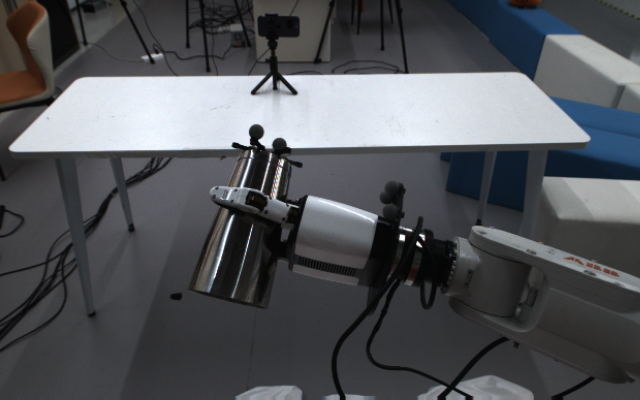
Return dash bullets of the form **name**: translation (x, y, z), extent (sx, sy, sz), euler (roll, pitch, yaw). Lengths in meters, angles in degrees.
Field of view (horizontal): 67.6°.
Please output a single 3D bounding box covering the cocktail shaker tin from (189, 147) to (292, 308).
- **cocktail shaker tin**: translation (-0.085, 0.033, 0.564), extent (0.093, 0.093, 0.170), euler (11, 74, 12)
